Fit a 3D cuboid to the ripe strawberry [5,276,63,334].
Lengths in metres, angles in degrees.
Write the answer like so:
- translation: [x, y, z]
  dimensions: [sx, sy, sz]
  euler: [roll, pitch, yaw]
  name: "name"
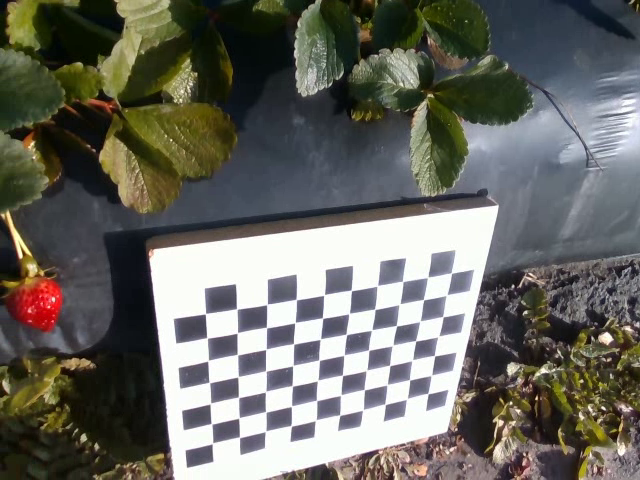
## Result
- translation: [-0.186, 0.045, 0.388]
  dimensions: [0.040, 0.044, 0.036]
  euler: [-23, 23, -6]
  name: "ripe strawberry"
